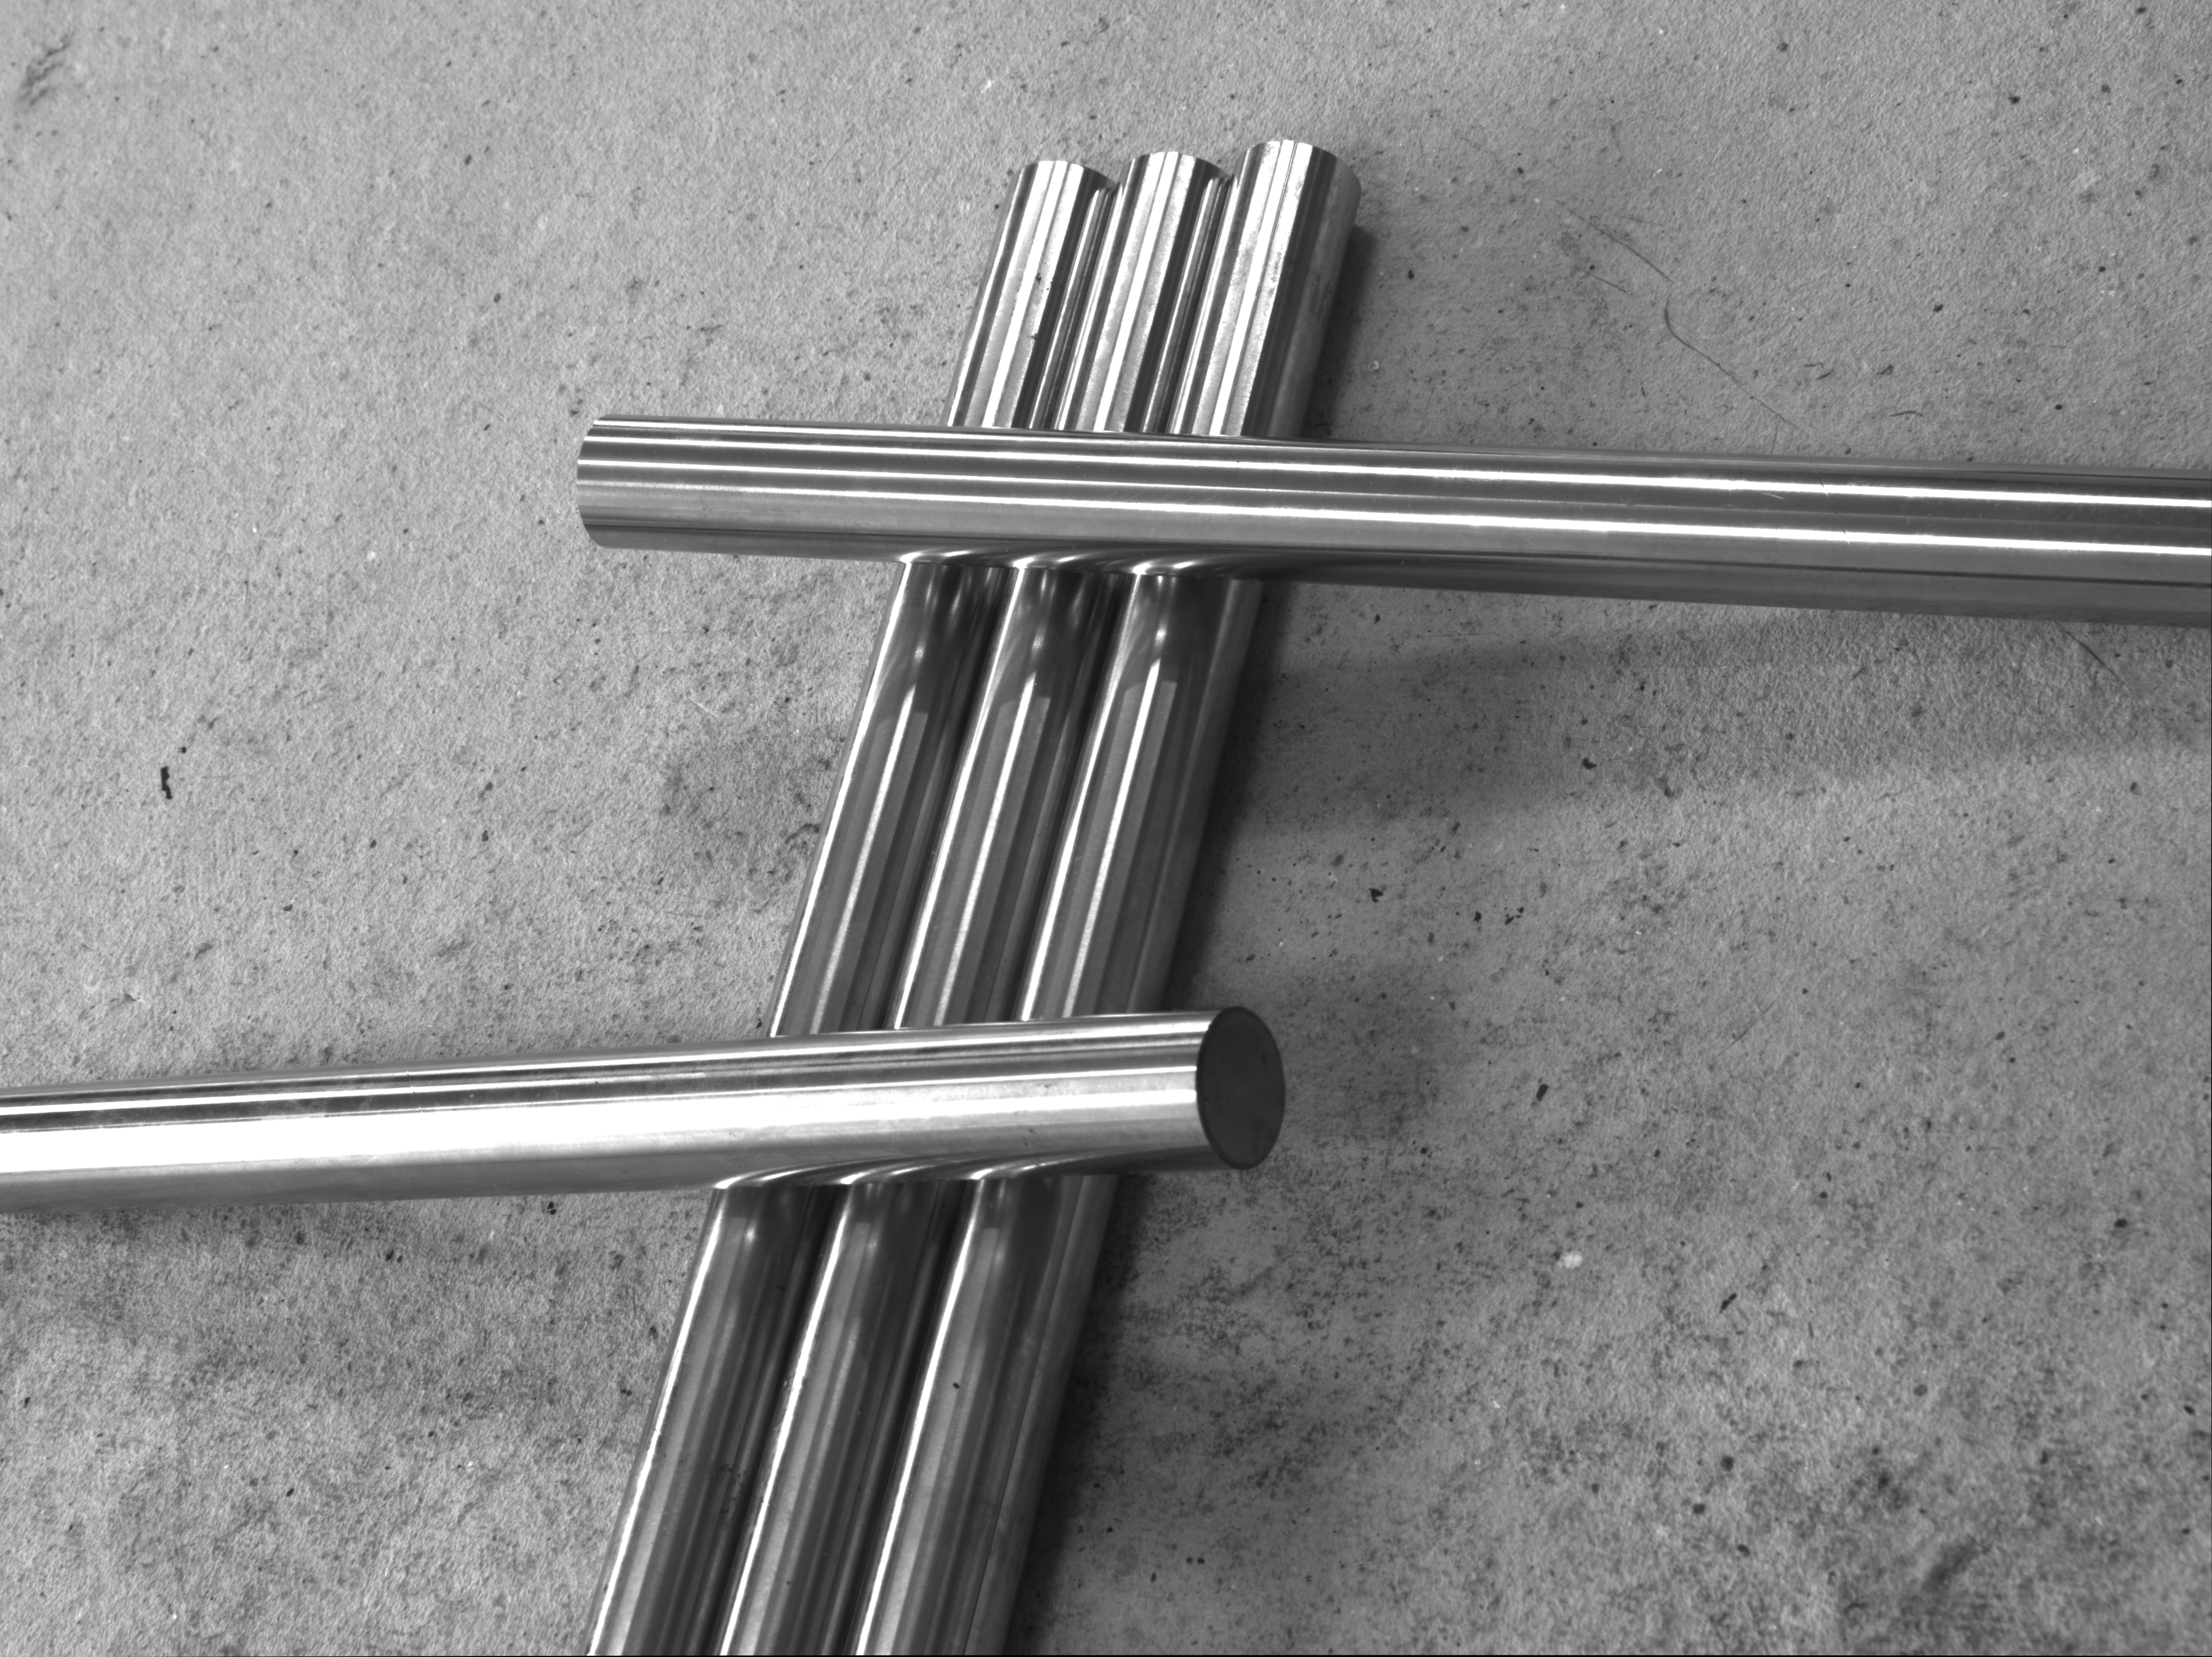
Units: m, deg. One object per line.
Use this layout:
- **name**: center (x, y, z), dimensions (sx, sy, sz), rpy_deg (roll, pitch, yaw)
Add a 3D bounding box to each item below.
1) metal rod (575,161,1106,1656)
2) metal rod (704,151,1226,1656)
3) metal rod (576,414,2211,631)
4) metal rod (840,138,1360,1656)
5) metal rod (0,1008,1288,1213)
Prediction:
- **metal rod**: center (-0.041, 0.008, 0.662), dimensions (0.025, 0.025, 0.300), rpy_deg (0, 61, 28)
- **metal rod**: center (-0.020, 0.008, 0.650), dimensions (0.025, 0.025, 0.300), rpy_deg (0, 61, 28)
- **metal rod**: center (0.046, -0.054, 0.628), dimensions (0.299, 0.025, 0.025), rpy_deg (5, 64, 22)
- **metal rod**: center (0.002, 0.008, 0.638), dimensions (0.025, 0.025, 0.300), rpy_deg (0, 61, 28)
- **metal rod**: center (-0.102, 0.052, 0.643), dimensions (0.299, 0.025, 0.025), rpy_deg (-6, 59, 34)
